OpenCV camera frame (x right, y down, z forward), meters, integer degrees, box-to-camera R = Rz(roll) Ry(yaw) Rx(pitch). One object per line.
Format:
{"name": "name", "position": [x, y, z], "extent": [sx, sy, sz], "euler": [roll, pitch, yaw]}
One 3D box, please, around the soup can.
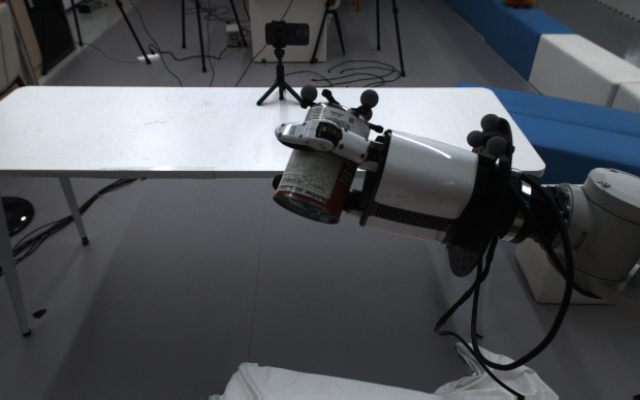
{"name": "soup can", "position": [0.005, -0.035, 0.480], "extent": [0.067, 0.067, 0.101], "euler": [15, 75, 18]}
